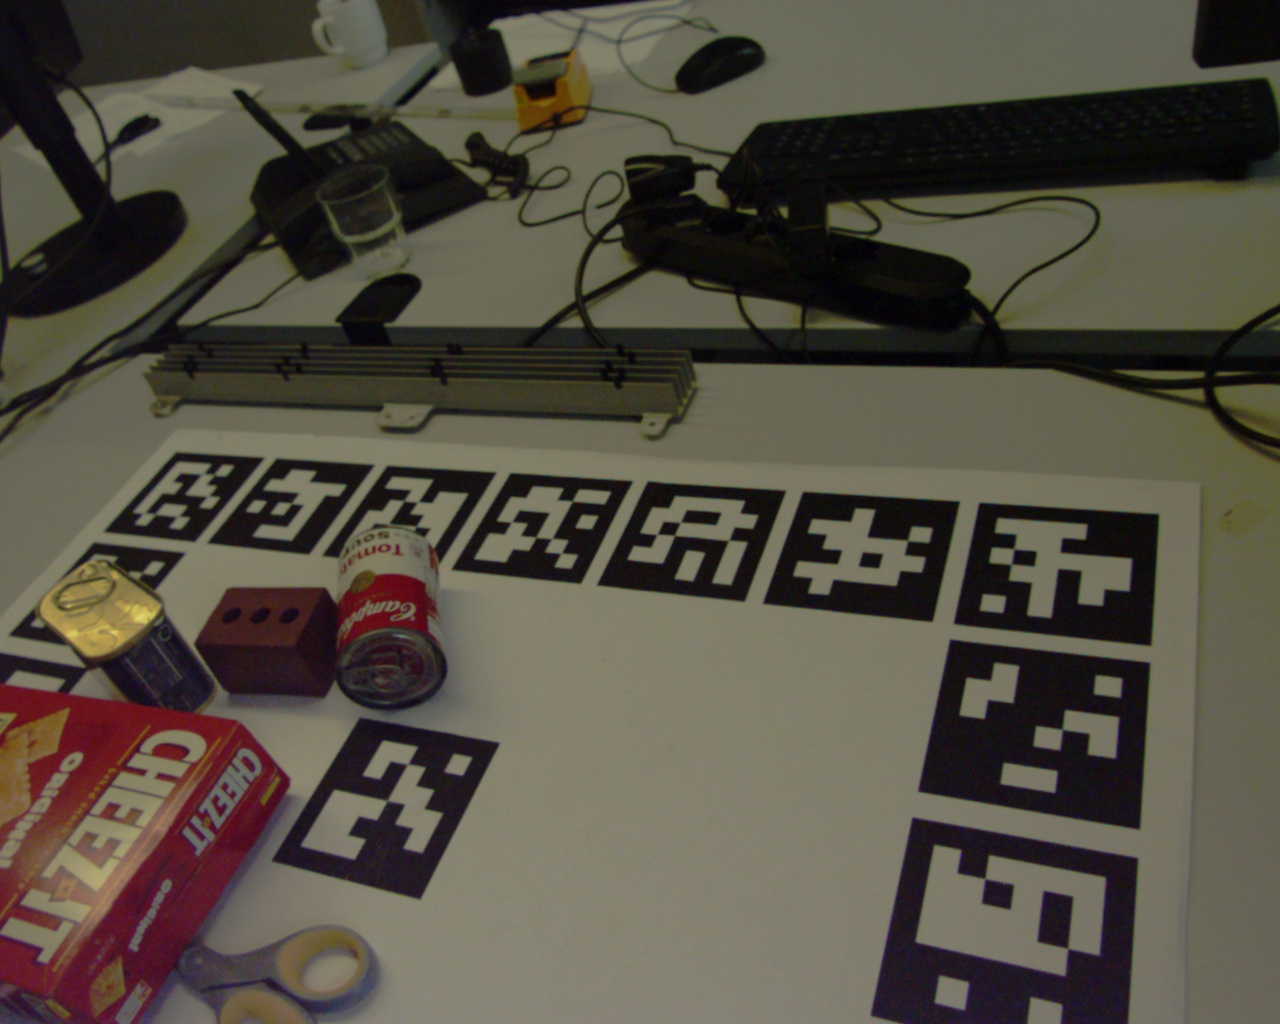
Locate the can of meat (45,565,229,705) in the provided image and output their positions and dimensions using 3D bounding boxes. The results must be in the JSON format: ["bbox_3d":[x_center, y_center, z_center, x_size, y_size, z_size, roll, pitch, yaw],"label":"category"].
[{"bbox_3d":[-0.343,0.093,0.783,0.103,0.083,0.057,17,54,33],"label":"can of meat"}]

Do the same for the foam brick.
[{"bbox_3d":[-0.240,0.089,0.775,0.079,0.051,0.053,-4,45,17],"label":"foam brick"}]

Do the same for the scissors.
[{"bbox_3d":[-0.239,0.247,0.620,0.205,0.016,0.087,0,47,22],"label":"scissors"}]

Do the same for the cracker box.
[{"bbox_3d":[-0.342,0.192,0.670,0.216,0.071,0.164,-3,44,24],"label":"cracker box"}]

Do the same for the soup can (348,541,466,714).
[{"bbox_3d":[-0.157,0.074,0.756,0.068,0.067,0.103,-23,37,-3],"label":"soup can"}]
